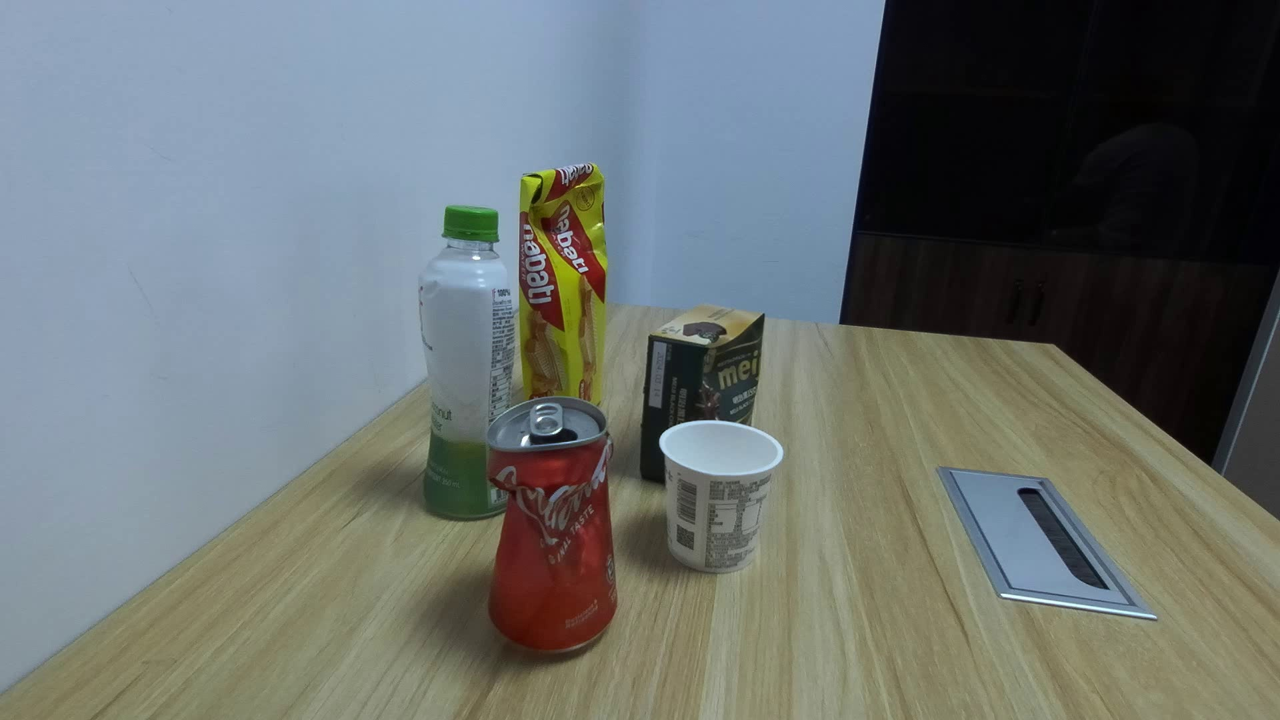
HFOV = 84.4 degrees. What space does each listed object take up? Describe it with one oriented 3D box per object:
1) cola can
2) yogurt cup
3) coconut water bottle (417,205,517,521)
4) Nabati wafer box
[{"bbox_3d":[-0.041,0.078,0.344,0.065,0.112,0.069,13,21,29],"label":"cola can"},{"bbox_3d":[0.044,0.080,0.414,0.072,0.068,0.072,2,20,0],"label":"yogurt cup"},{"bbox_3d":[-0.106,0.001,0.440,0.069,0.187,0.069,3,20,-1],"label":"coconut water bottle"},{"bbox_3d":[-0.059,-0.047,0.564,0.042,0.205,0.113,5,19,13],"label":"Nabati wafer box"}]
